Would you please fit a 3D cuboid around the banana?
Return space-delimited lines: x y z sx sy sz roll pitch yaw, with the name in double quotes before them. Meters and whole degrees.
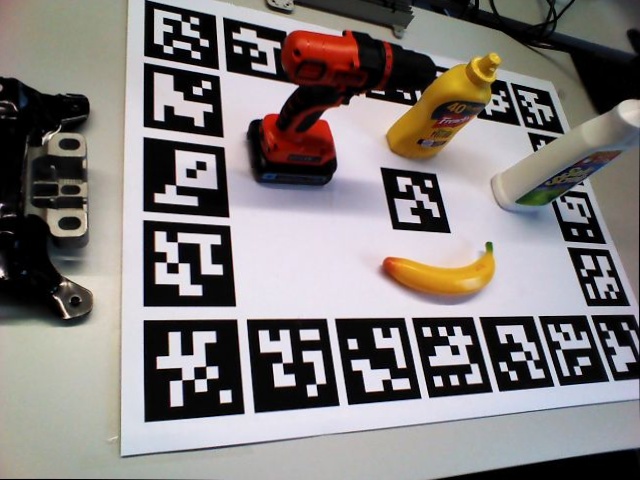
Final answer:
"banana" 0.199 0.049 0.697 0.197 0.039 0.074 -3 70 -24

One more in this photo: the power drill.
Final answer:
"power drill" 0.049 -0.151 0.602 0.184 0.188 0.057 -4 69 -23

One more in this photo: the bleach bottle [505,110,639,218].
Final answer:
"bleach bottle" 0.396 -0.116 0.751 0.102 0.252 0.067 11 63 -21

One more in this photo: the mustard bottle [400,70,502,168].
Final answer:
"mustard bottle" 0.202 -0.172 0.722 0.096 0.193 0.058 -5 69 -29
